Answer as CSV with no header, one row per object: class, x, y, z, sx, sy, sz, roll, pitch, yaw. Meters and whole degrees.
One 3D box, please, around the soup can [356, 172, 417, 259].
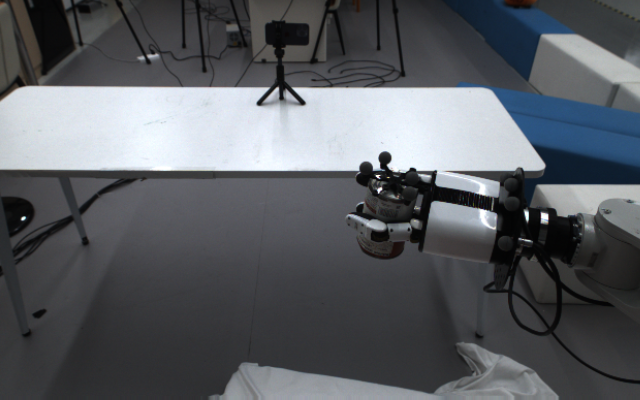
soup can,0.092,0.020,0.656,0.067,0.101,0.067,5,37,-3
